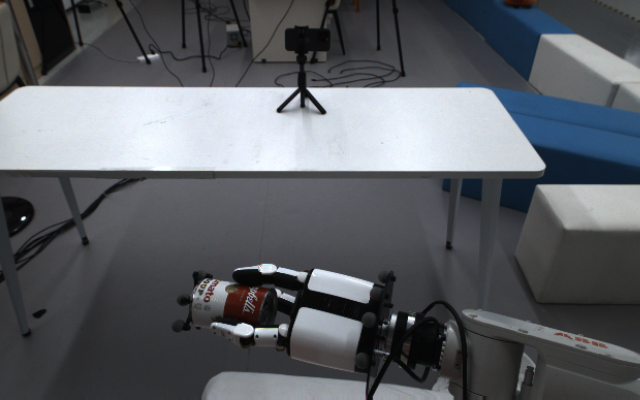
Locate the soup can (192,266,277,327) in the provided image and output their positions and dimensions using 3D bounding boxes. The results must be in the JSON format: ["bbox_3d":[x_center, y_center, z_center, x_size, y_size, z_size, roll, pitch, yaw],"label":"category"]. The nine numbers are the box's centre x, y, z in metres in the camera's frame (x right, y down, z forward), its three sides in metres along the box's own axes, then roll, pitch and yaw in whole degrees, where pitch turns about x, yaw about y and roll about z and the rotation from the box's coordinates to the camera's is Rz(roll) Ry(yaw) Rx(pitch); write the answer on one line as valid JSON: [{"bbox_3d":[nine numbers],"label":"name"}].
[{"bbox_3d":[-0.114,0.147,0.656,0.101,0.067,0.067,6,35,13],"label":"soup can"}]
